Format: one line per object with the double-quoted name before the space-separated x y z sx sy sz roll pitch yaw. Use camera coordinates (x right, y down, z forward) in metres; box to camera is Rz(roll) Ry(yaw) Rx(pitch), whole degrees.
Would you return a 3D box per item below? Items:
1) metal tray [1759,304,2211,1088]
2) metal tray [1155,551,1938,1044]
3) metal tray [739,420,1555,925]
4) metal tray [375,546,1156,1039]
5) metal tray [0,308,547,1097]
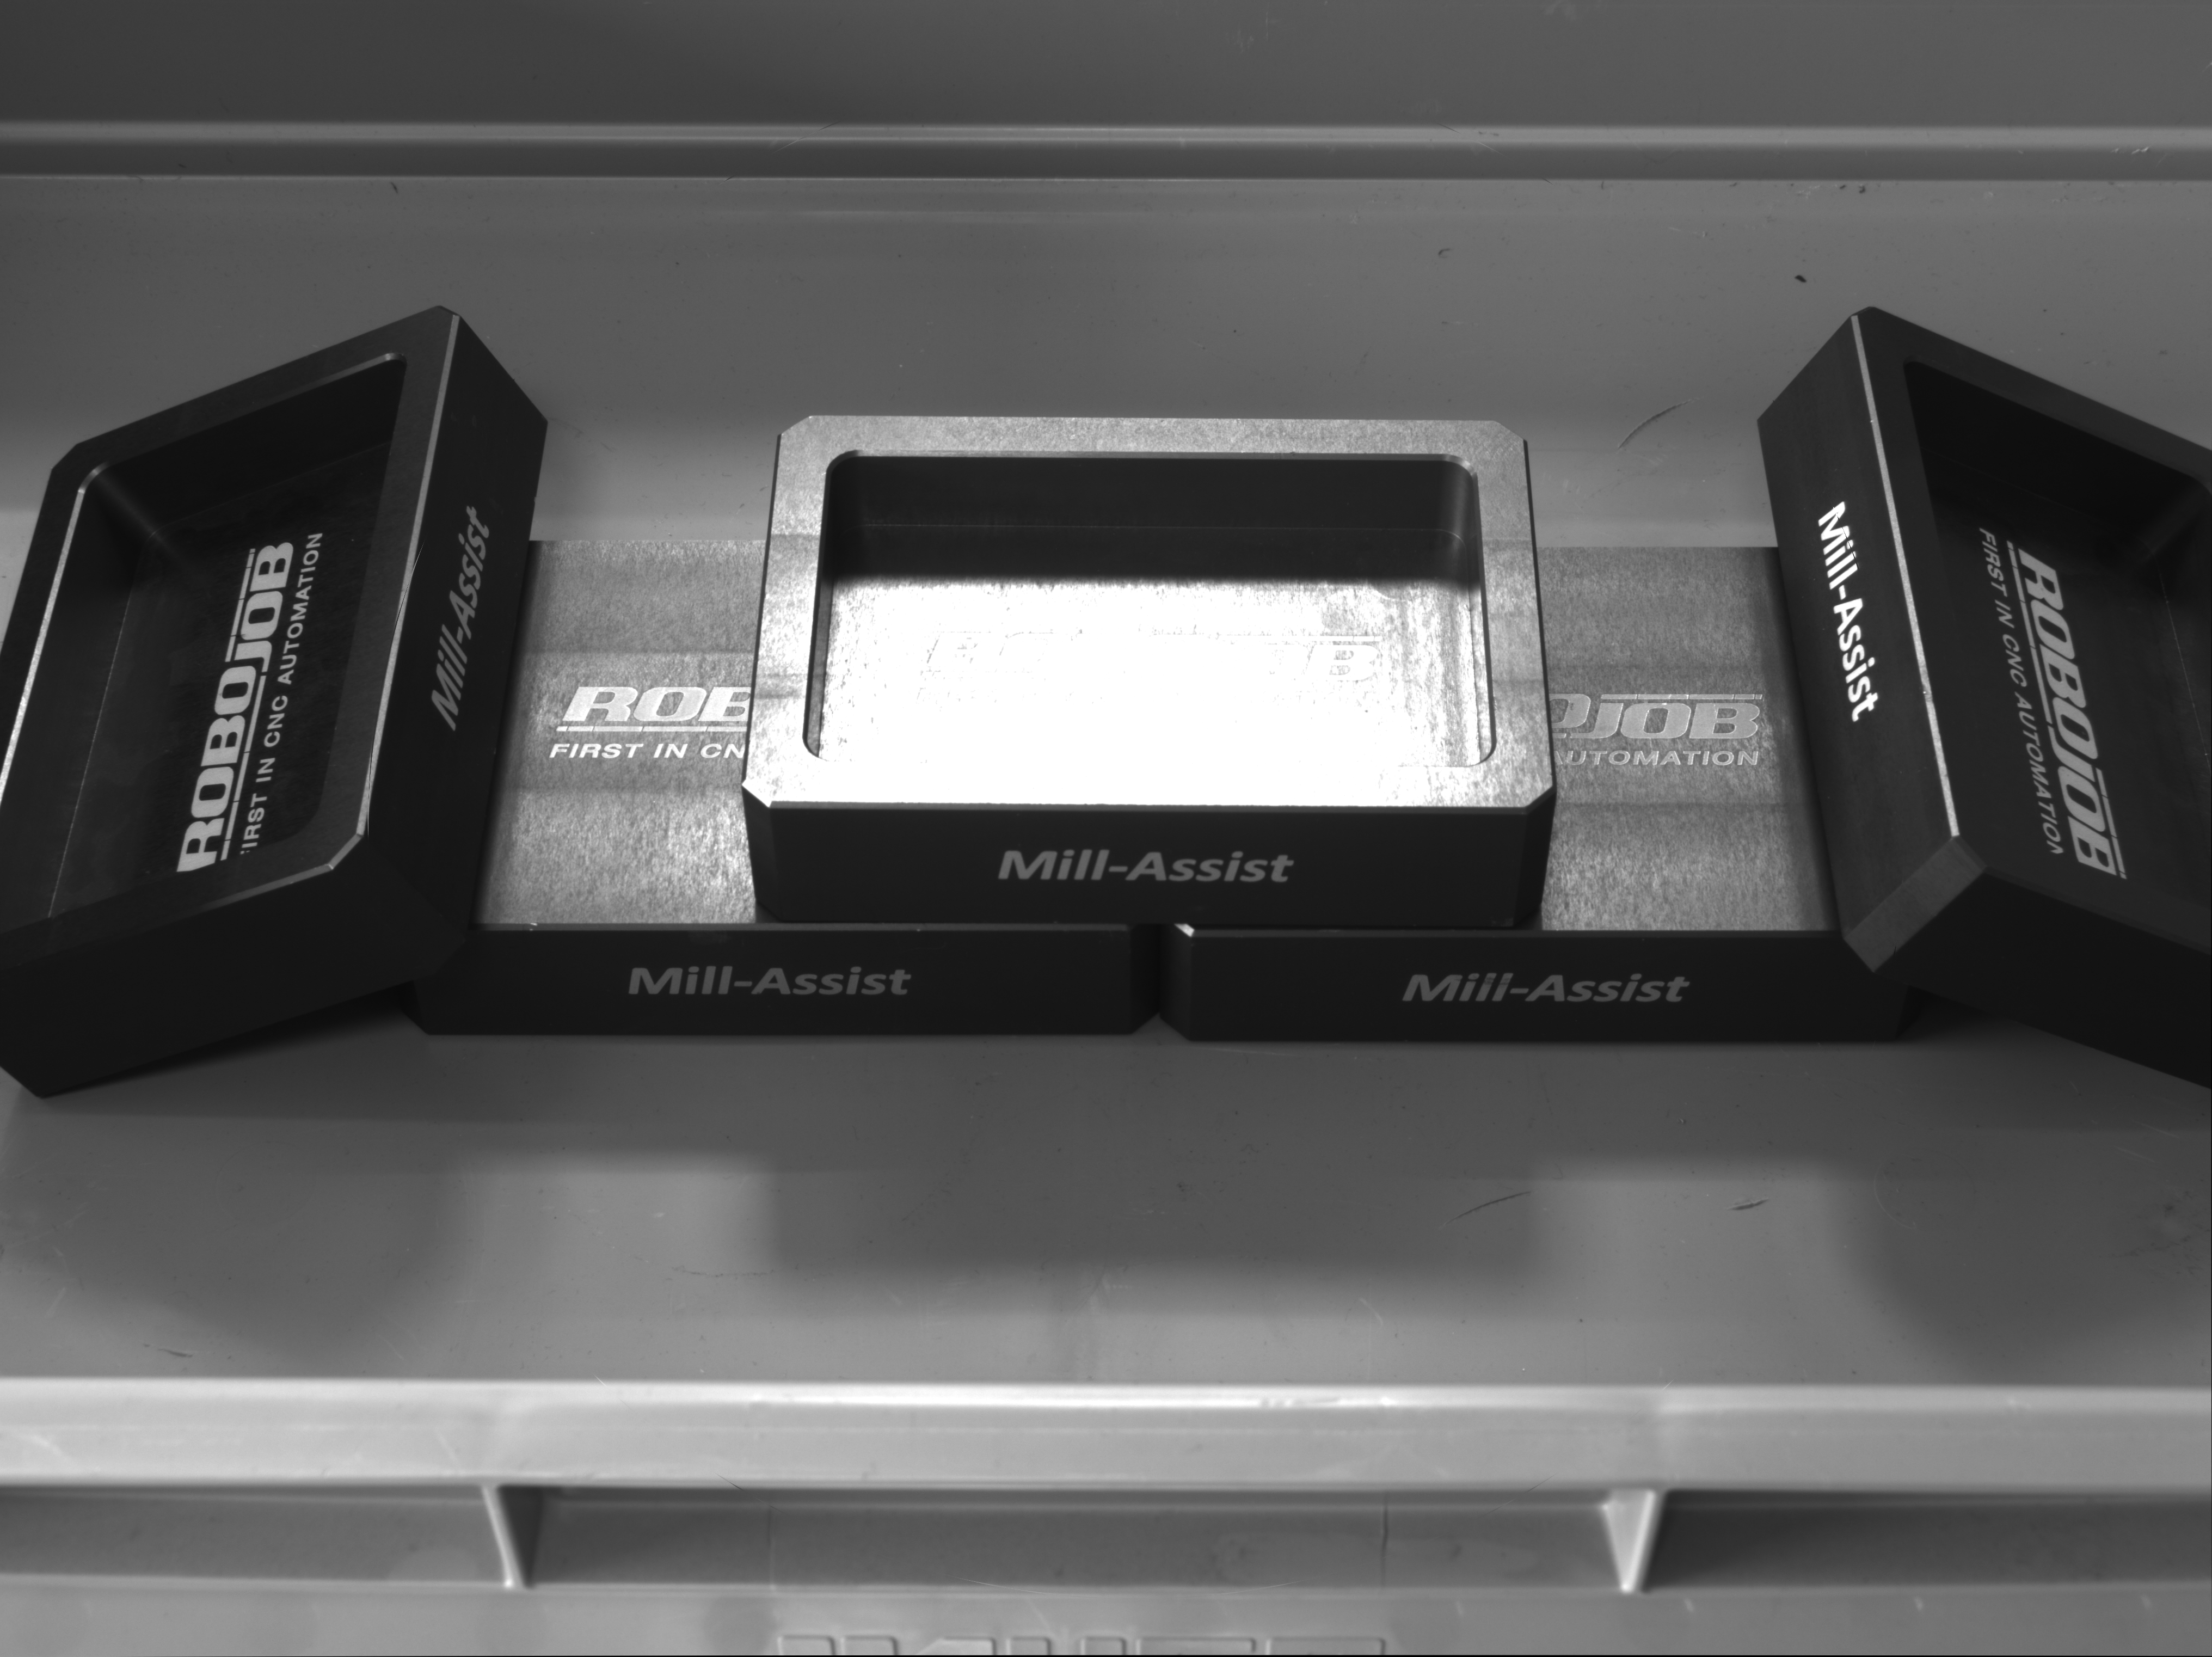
"metal tray" 0.164 -0.023 0.631 0.090 0.030 0.130 19 46 -21
"metal tray" 0.074 -0.007 0.644 0.130 0.030 0.090 0 50 0
"metal tray" 0.007 -0.028 0.621 0.130 0.030 0.090 0 49 1
"metal tray" -0.056 -0.008 0.645 0.130 0.030 0.090 0 50 0
"metal tray" -0.149 -0.024 0.634 0.090 0.030 0.130 -17 47 20
